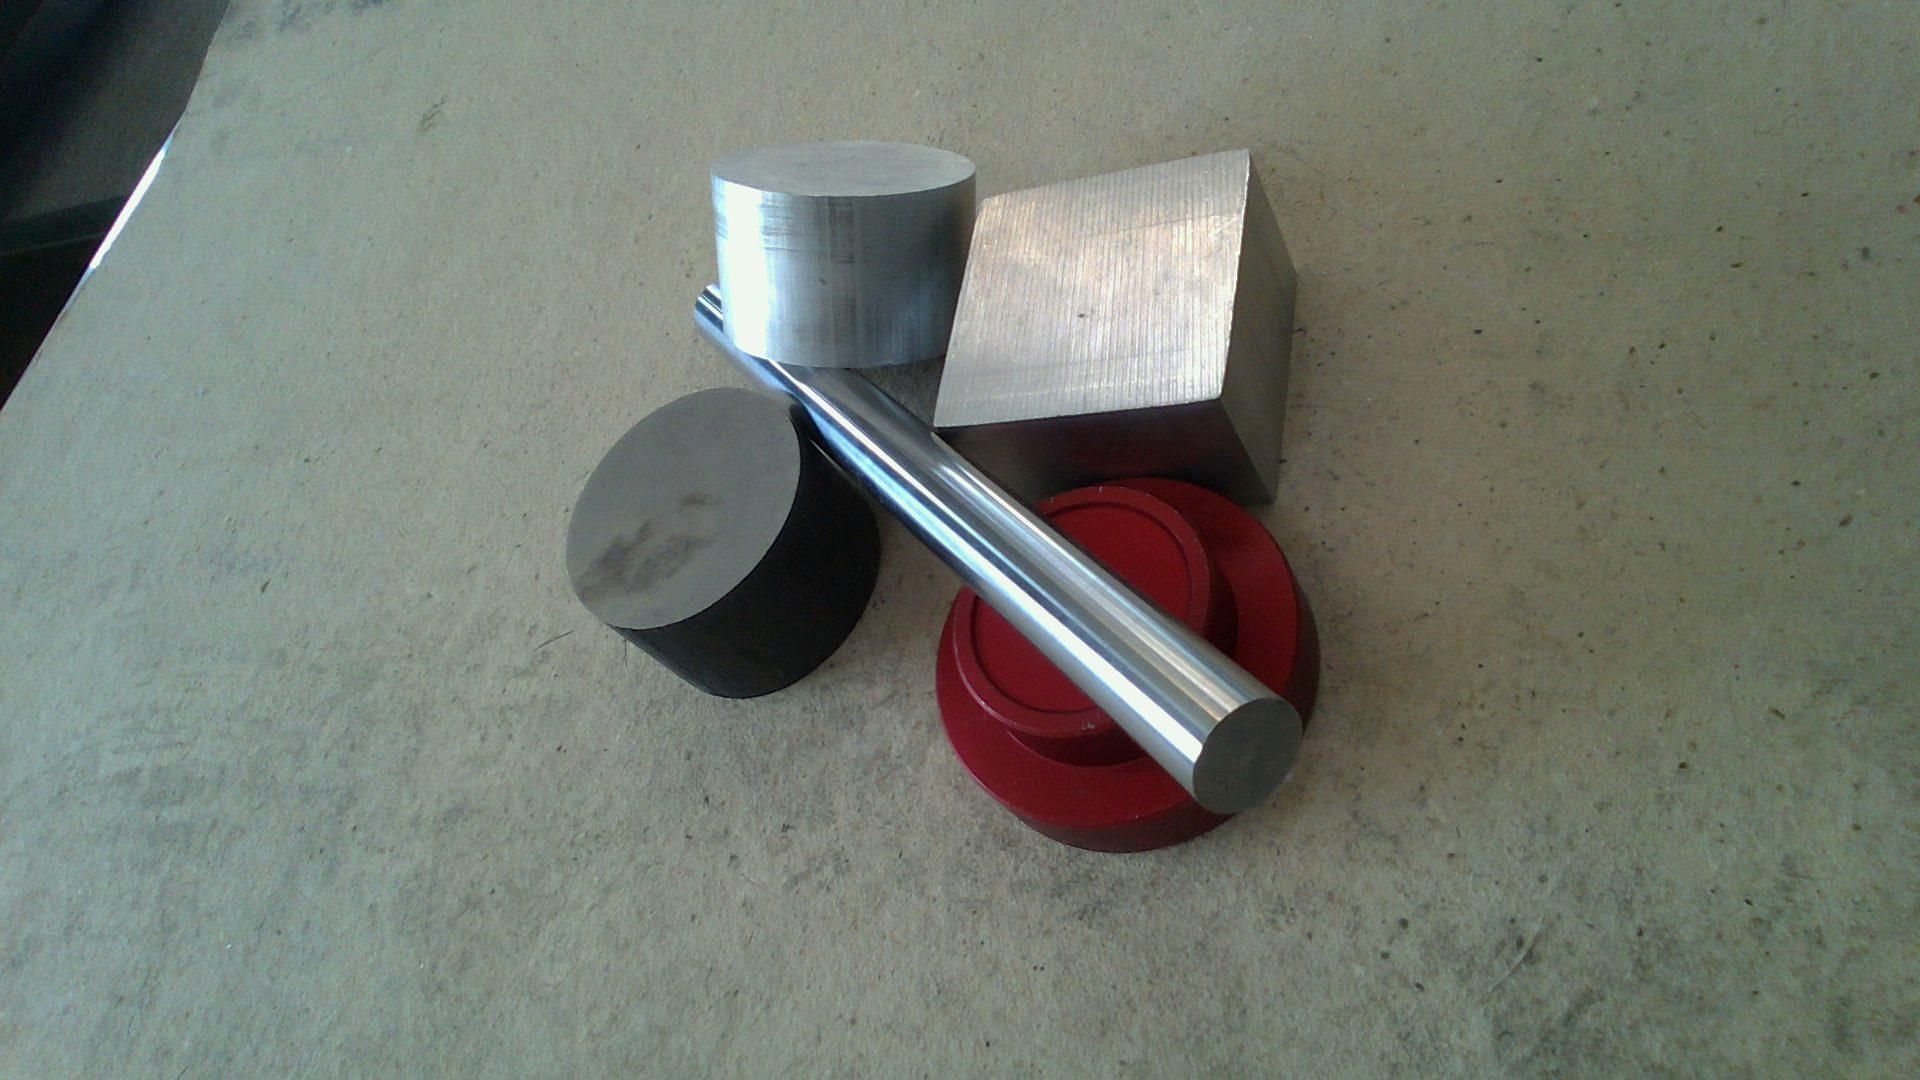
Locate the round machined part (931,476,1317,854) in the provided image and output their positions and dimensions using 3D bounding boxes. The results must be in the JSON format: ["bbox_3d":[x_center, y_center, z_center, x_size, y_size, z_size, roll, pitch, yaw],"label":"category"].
[{"bbox_3d":[0.036,0.025,0.347,0.098,0.042,0.098,-13,56,21],"label":"round machined part"}]

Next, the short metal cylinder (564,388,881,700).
[{"bbox_3d":[-0.071,0.002,0.416,0.080,0.050,0.080,-13,56,21],"label":"short metal cylinder"}]

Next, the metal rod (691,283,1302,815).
[{"bbox_3d":[-0.016,-0.020,0.371,0.025,0.025,0.299,-45,37,-3],"label":"metal rod"}]

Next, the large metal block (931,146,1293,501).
[{"bbox_3d":[0.045,-0.056,0.385,0.080,0.050,0.080,-3,60,27],"label":"large metal block"}]

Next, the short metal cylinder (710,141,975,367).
[{"bbox_3d":[-0.036,-0.091,0.429,0.080,0.050,0.080,1,27,0],"label":"short metal cylinder"}]
